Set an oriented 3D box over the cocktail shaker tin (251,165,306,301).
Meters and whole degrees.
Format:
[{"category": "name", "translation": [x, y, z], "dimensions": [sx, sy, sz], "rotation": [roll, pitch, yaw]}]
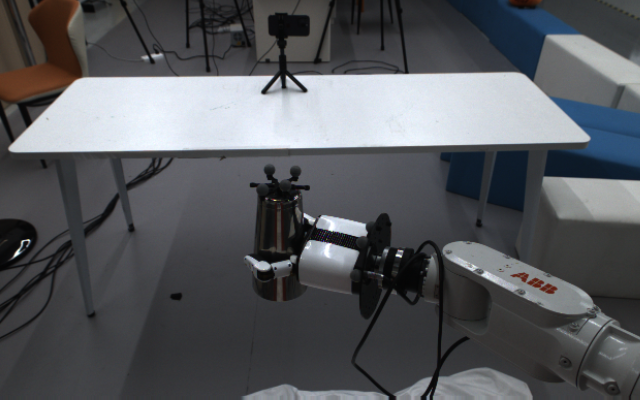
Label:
[{"category": "cocktail shaker tin", "translation": [-0.061, 0.062, 0.757], "dimensions": [0.093, 0.170, 0.093], "rotation": [2, 28, -1]}]
